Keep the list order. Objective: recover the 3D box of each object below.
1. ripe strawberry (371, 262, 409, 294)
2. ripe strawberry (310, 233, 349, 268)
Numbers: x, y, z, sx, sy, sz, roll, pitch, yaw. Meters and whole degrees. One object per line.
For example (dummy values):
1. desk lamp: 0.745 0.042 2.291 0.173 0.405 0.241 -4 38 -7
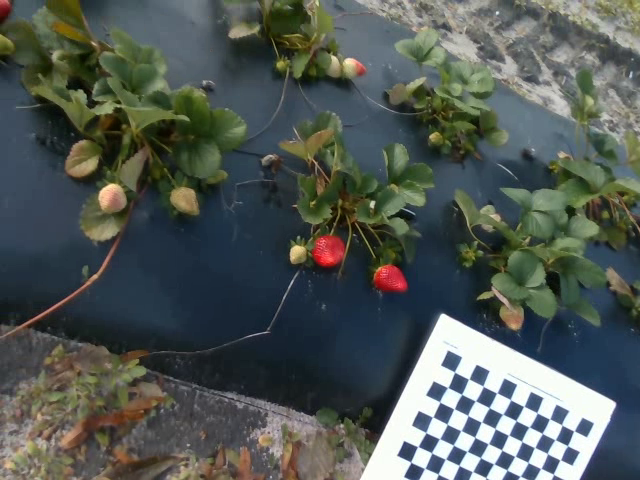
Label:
1. ripe strawberry: 0.077 0.036 0.747 0.033 0.038 0.039 37 6 -35
2. ripe strawberry: 0.016 0.009 0.724 0.035 0.041 0.036 12 28 -12
